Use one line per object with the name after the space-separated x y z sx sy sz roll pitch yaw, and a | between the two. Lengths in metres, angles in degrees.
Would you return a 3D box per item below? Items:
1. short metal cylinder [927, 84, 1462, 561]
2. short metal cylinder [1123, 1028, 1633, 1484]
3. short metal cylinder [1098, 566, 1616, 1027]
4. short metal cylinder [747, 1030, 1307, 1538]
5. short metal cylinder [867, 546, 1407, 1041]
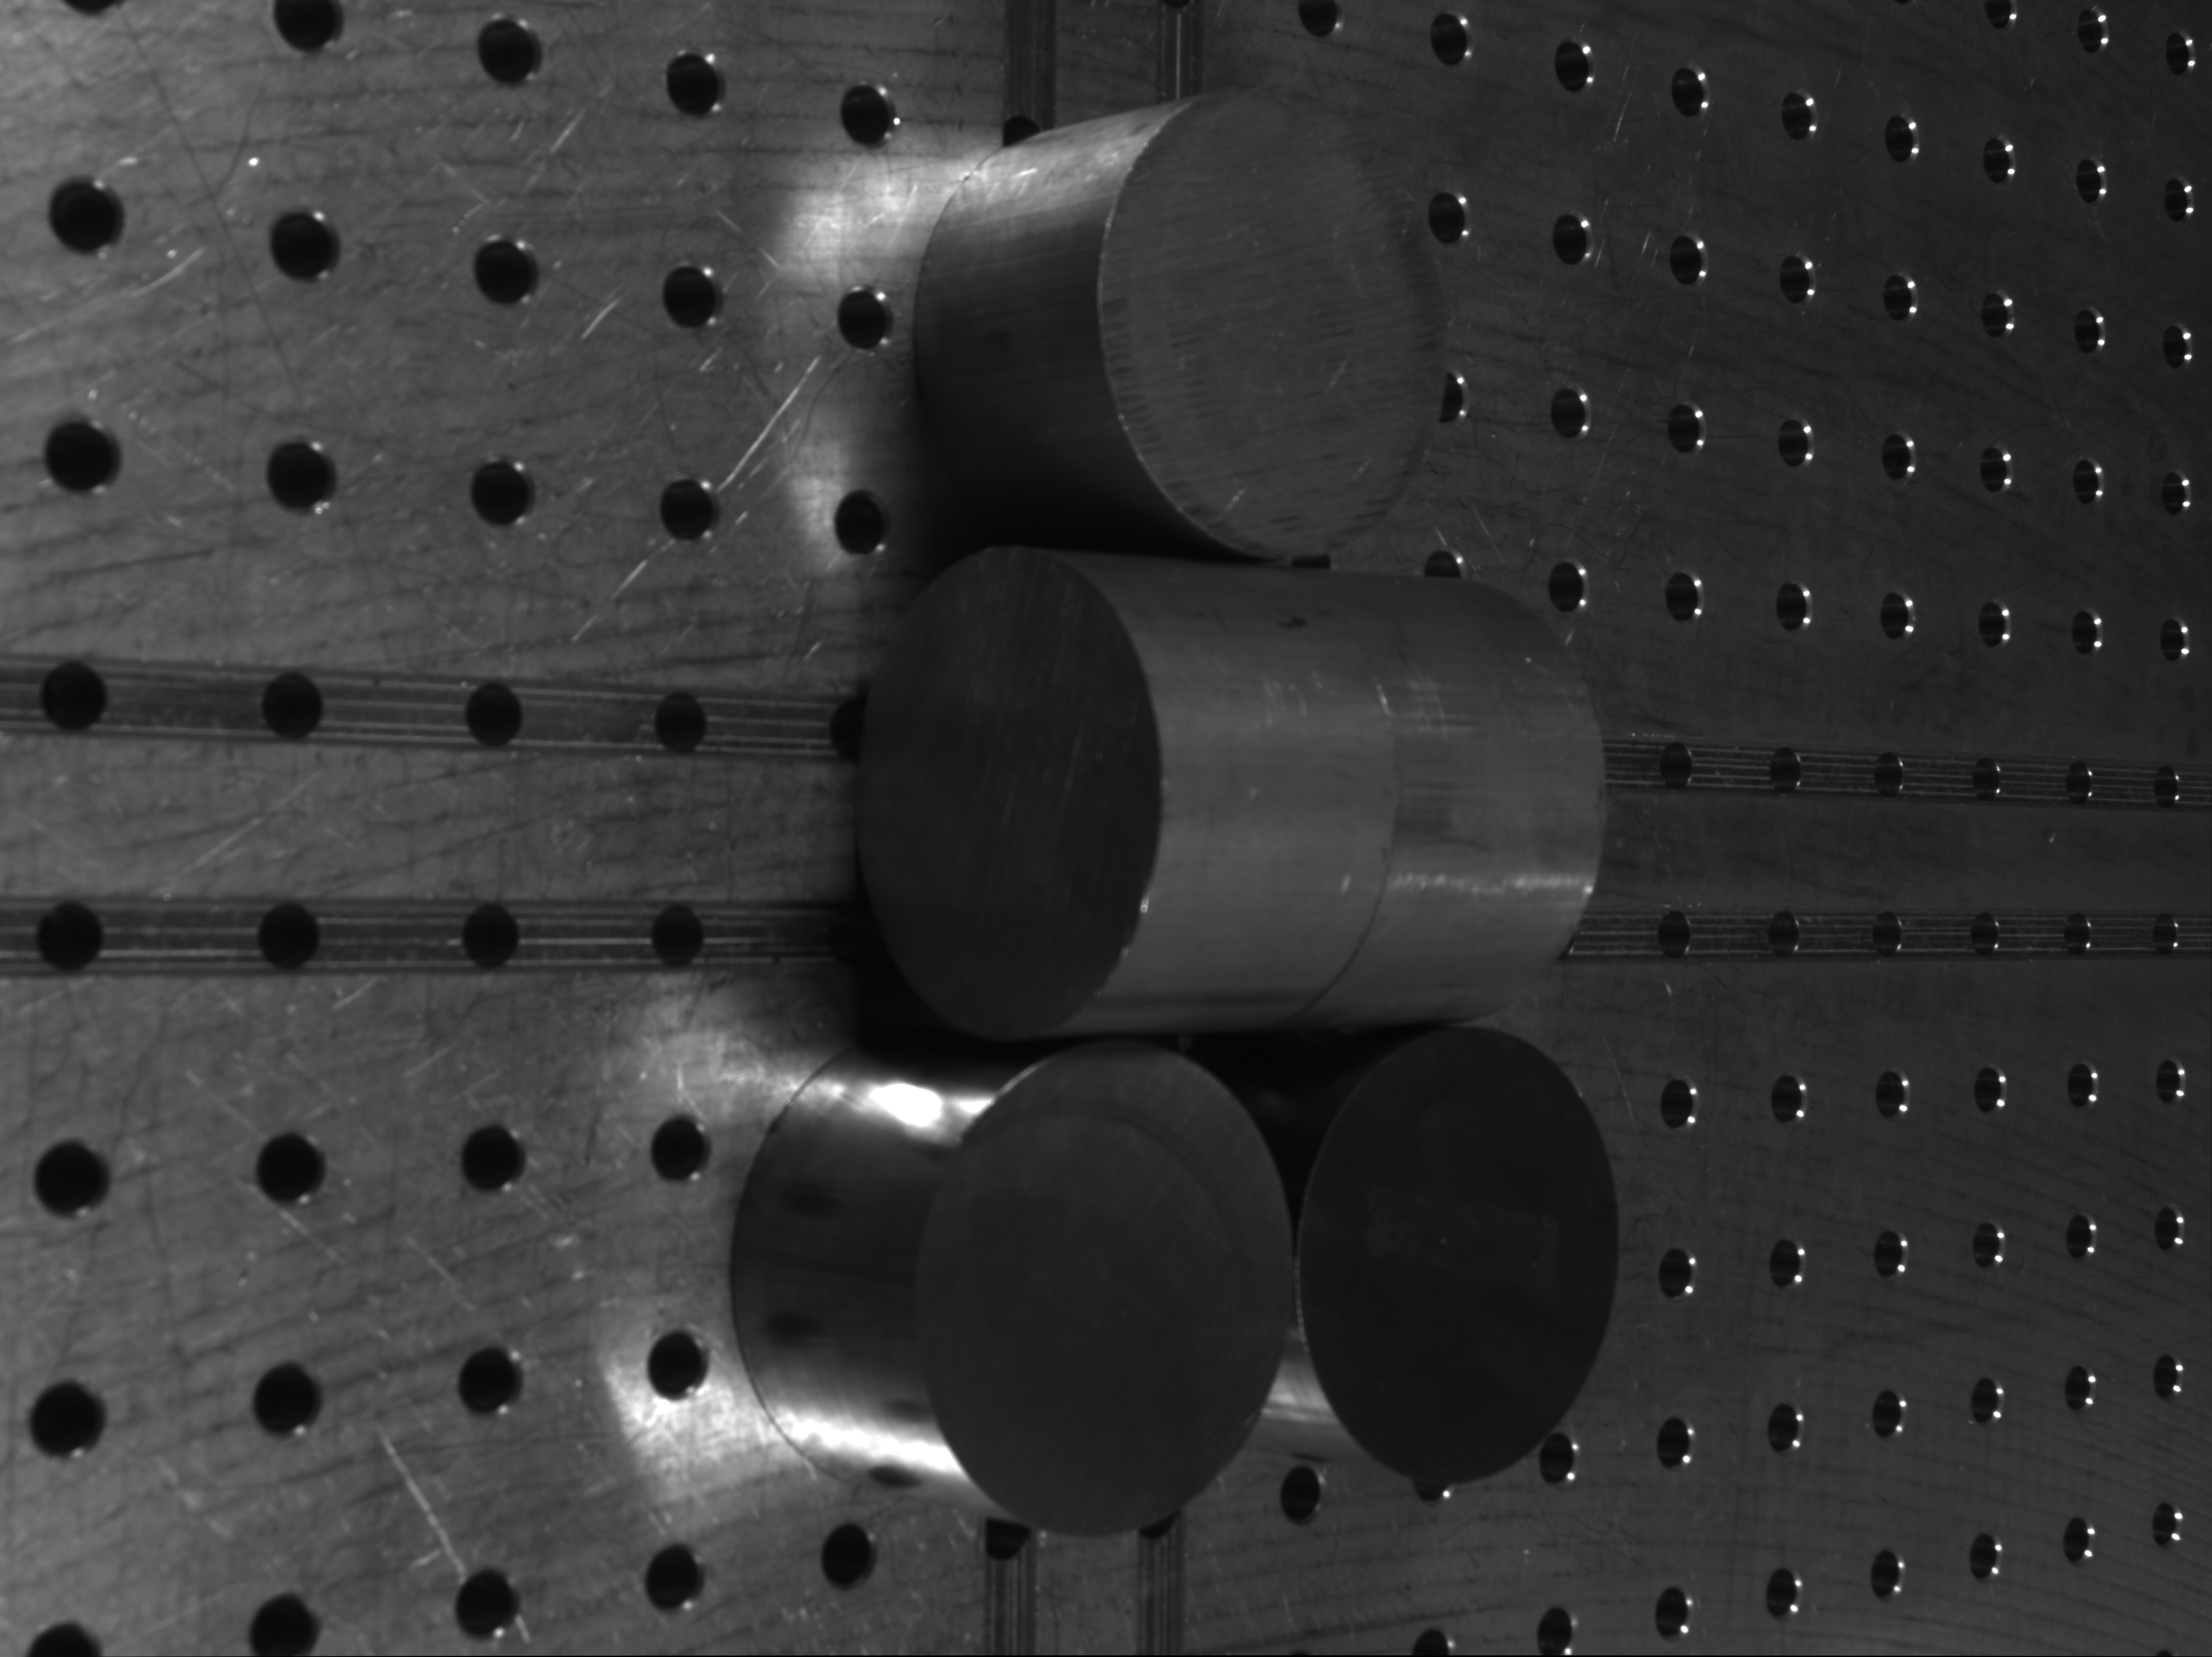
0.016 -0.085 0.637 0.080 0.050 0.080 0 90 -40 | short metal cylinder
0.050 0.075 0.664 0.080 0.050 0.080 0 90 -40 | short metal cylinder
0.043 -0.005 0.641 0.050 0.080 0.080 1 90 -40 | short metal cylinder
-0.013 0.075 0.612 0.080 0.050 0.080 0 90 -40 | short metal cylinder
0.004 -0.005 0.609 0.050 0.080 0.080 1 90 -40 | short metal cylinder
